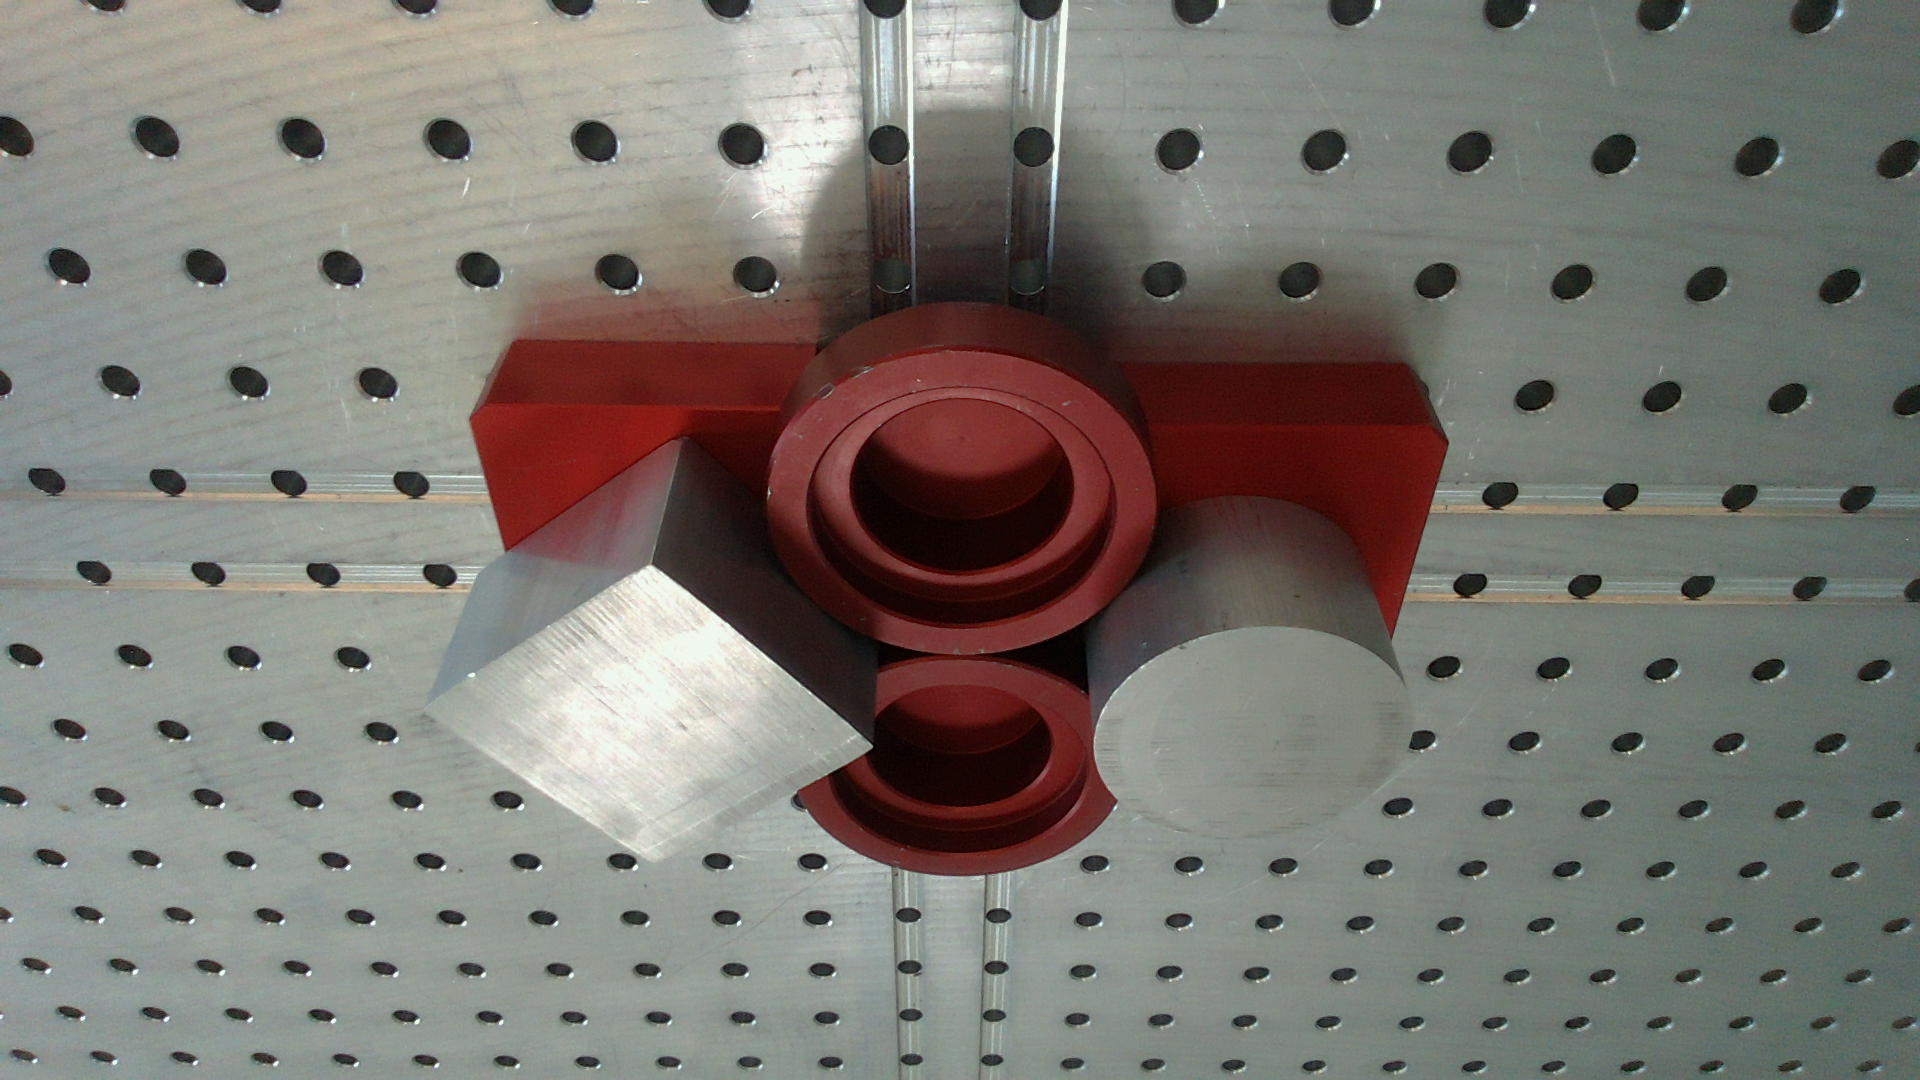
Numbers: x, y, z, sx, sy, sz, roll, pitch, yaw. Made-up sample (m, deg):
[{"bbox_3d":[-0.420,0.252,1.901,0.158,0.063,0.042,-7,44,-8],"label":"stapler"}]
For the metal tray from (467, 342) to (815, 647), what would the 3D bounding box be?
[{"bbox_3d":[-0.079,0.007,0.395,0.090,0.030,0.130,-1,130,-1],"label":"metal tray"}]

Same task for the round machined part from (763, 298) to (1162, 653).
[{"bbox_3d":[0.001,-0.020,0.354,0.098,0.042,0.098,0,130,0],"label":"round machined part"}]

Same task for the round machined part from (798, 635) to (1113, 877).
[{"bbox_3d":[0.000,0.056,0.417,0.098,0.042,0.098,0,130,0],"label":"round machined part"}]

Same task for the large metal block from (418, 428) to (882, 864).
[{"bbox_3d":[-0.077,0.031,0.363,0.080,0.050,0.080,-30,124,23],"label":"large metal block"}]

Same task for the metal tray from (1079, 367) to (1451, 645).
[{"bbox_3d":[0.080,0.013,0.399,0.090,0.030,0.130,0,130,-1],"label":"metal tray"}]

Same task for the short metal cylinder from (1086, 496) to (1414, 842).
[{"bbox_3d":[0.074,0.035,0.367,0.080,0.050,0.080,0,130,0],"label":"short metal cylinder"}]
